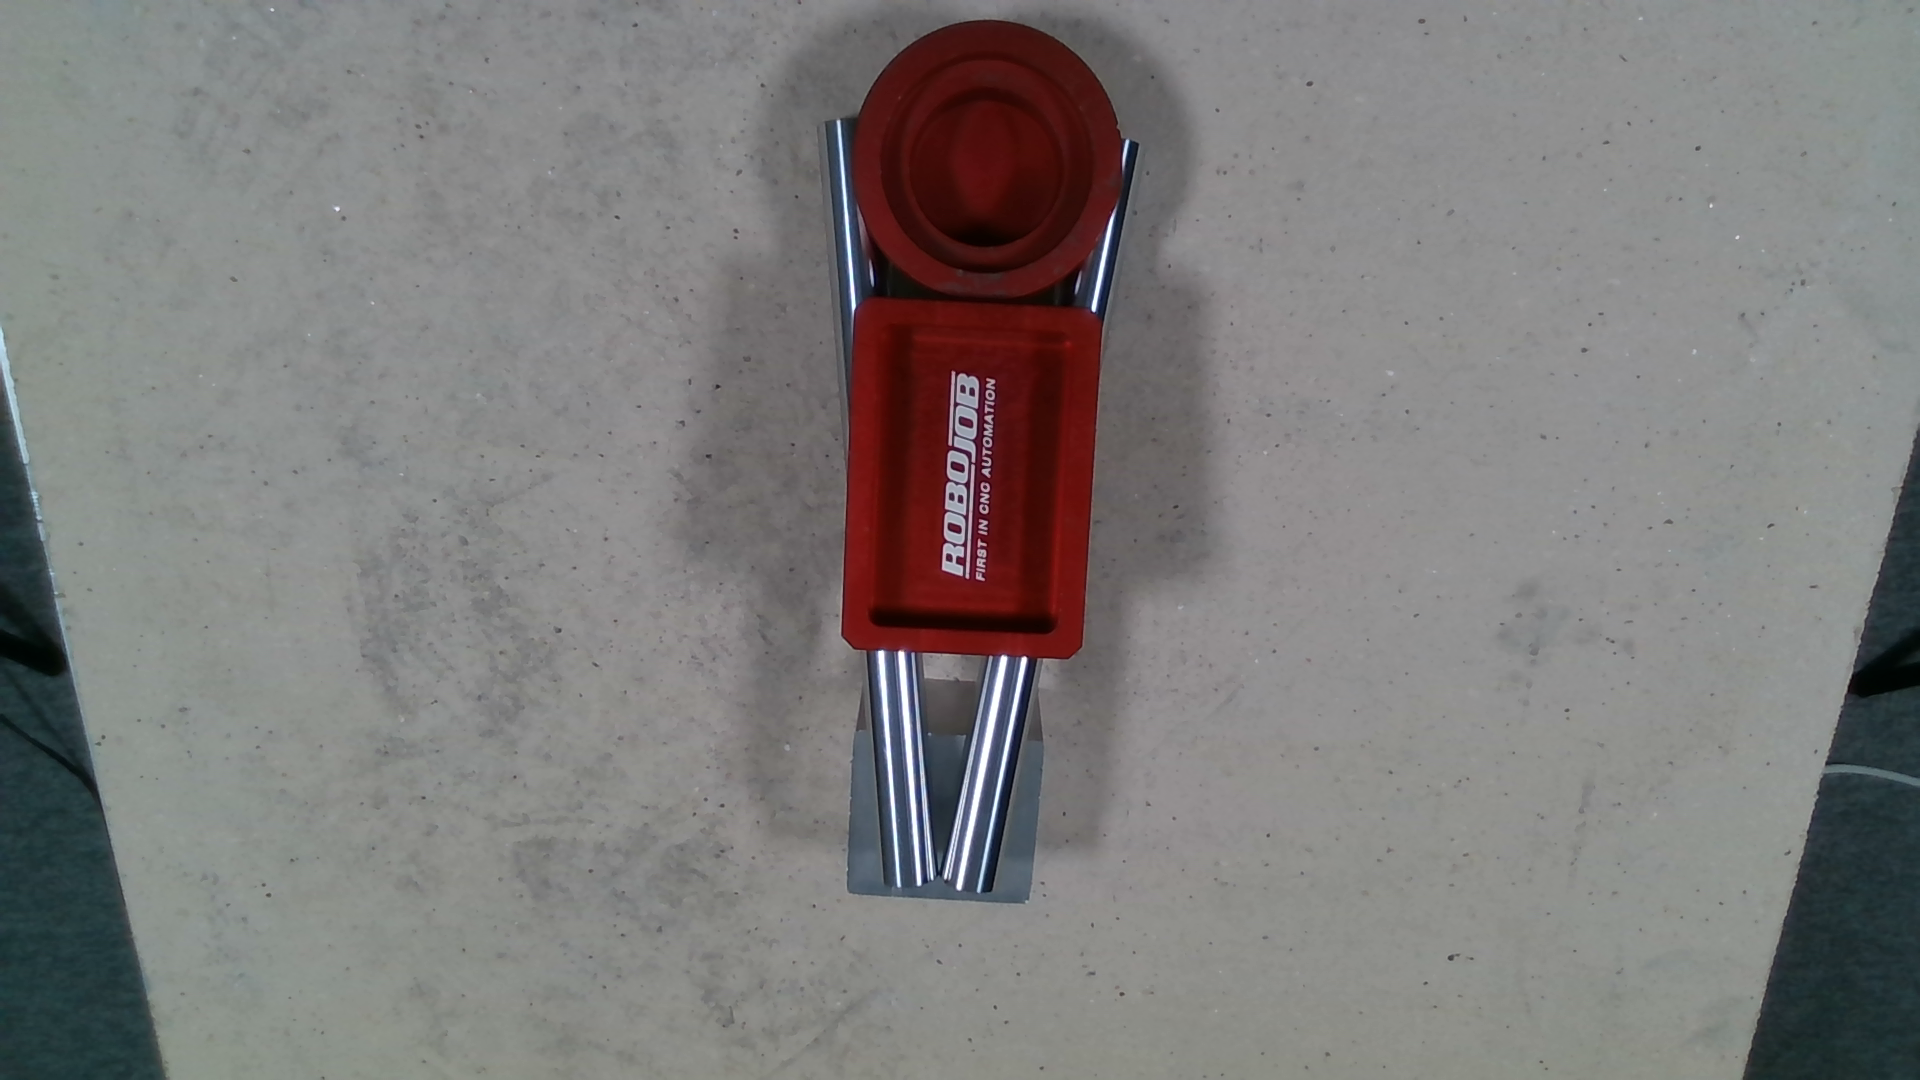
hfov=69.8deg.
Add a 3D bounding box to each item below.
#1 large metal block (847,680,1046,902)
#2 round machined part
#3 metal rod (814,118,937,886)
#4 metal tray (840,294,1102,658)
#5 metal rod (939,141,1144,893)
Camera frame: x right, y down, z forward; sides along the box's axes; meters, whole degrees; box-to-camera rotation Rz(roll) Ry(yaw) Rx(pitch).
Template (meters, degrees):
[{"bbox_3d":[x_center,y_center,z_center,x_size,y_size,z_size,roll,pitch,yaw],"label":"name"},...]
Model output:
[{"bbox_3d":[-0.007,0.110,0.610,0.080,0.050,0.080,4,110,-1],"label":"large metal block"},{"bbox_3d":[0.010,-0.139,0.518,0.098,0.042,0.098,0,100,0],"label":"round machined part"},{"bbox_3d":[-0.033,-0.011,0.547,0.025,0.025,0.300,-4,98,2],"label":"metal rod"},{"bbox_3d":[0.003,-0.024,0.518,0.090,0.030,0.130,3,98,-1],"label":"metal tray"},{"bbox_3d":[0.031,-0.006,0.548,0.025,0.025,0.300,10,97,-4],"label":"metal rod"}]
